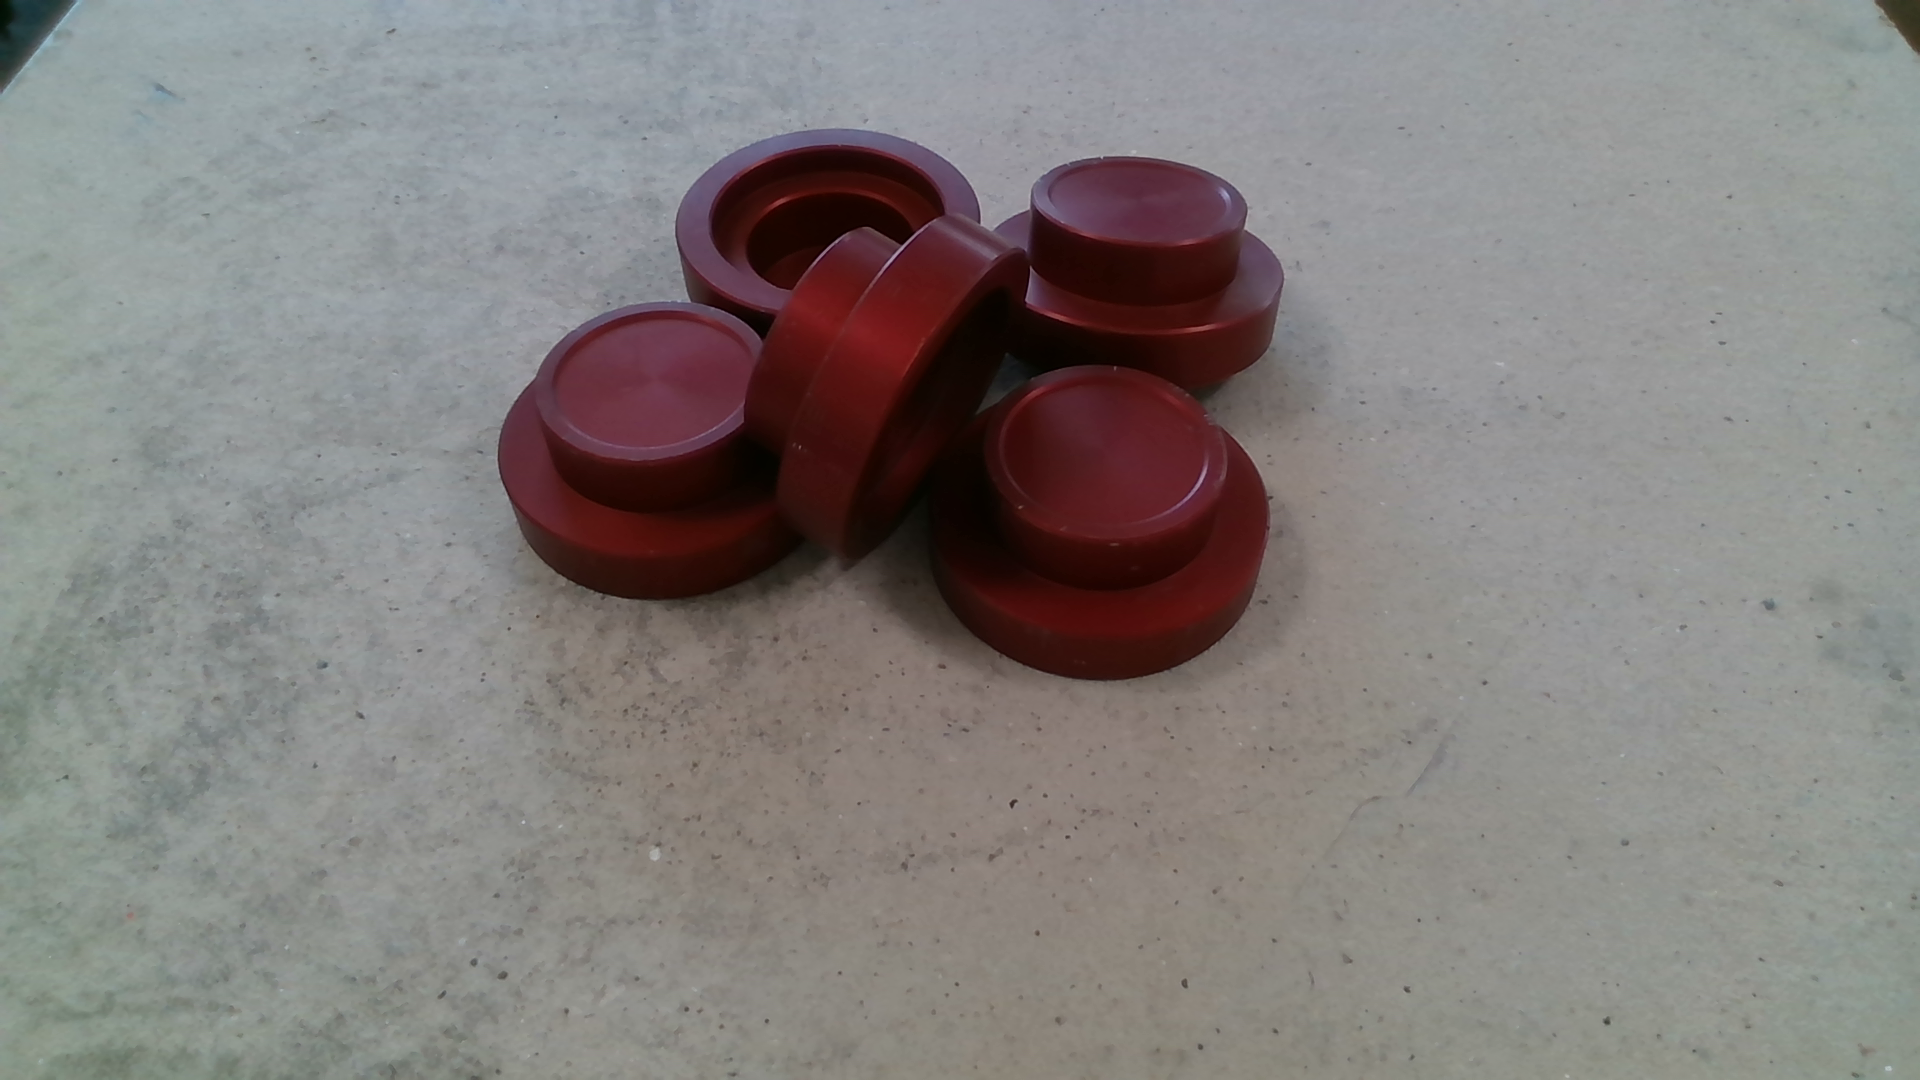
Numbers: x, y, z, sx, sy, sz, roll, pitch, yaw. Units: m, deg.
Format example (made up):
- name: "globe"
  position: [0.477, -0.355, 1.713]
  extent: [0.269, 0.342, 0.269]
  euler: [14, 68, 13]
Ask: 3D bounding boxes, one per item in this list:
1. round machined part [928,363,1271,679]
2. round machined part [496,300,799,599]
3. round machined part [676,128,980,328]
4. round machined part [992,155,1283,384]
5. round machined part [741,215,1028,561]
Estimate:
- name: "round machined part"
  position: [0.040, -0.012, 0.393]
  extent: [0.098, 0.042, 0.098]
  euler: [1, 51, -1]
- name: "round machined part"
  position: [-0.088, -0.034, 0.411]
  extent: [0.098, 0.042, 0.098]
  euler: [1, 51, -1]
- name: "round machined part"
  position: [-0.042, -0.092, 0.459]
  extent: [0.098, 0.042, 0.098]
  euler: [-1, 50, 1]
- name: "round machined part"
  position: [0.055, -0.092, 0.446]
  extent: [0.098, 0.042, 0.098]
  euler: [2, 37, -1]
- name: "round machined part"
  position: [-0.024, -0.046, 0.382]
  extent: [0.042, 0.098, 0.098]
  euler: [31, 56, 7]
